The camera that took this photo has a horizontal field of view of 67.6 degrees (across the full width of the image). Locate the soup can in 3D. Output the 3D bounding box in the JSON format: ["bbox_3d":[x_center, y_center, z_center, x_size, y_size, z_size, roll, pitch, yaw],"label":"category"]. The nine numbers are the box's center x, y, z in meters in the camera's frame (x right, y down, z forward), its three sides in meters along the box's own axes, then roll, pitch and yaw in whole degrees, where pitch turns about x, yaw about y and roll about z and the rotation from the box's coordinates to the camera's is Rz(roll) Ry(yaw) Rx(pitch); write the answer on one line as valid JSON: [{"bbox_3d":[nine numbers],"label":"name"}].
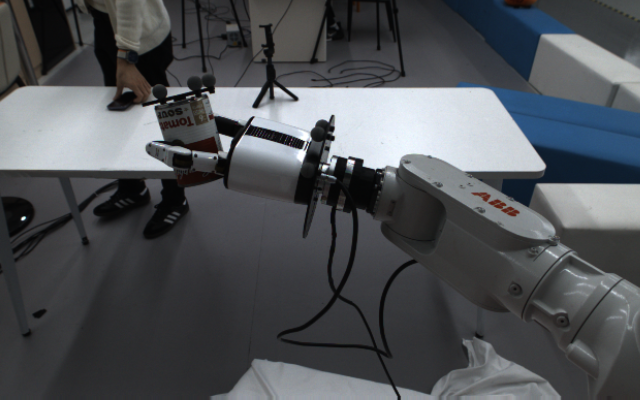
[{"bbox_3d":[-0.158,-0.073,0.606,0.067,0.101,0.067,-12,17,4],"label":"soup can"}]
